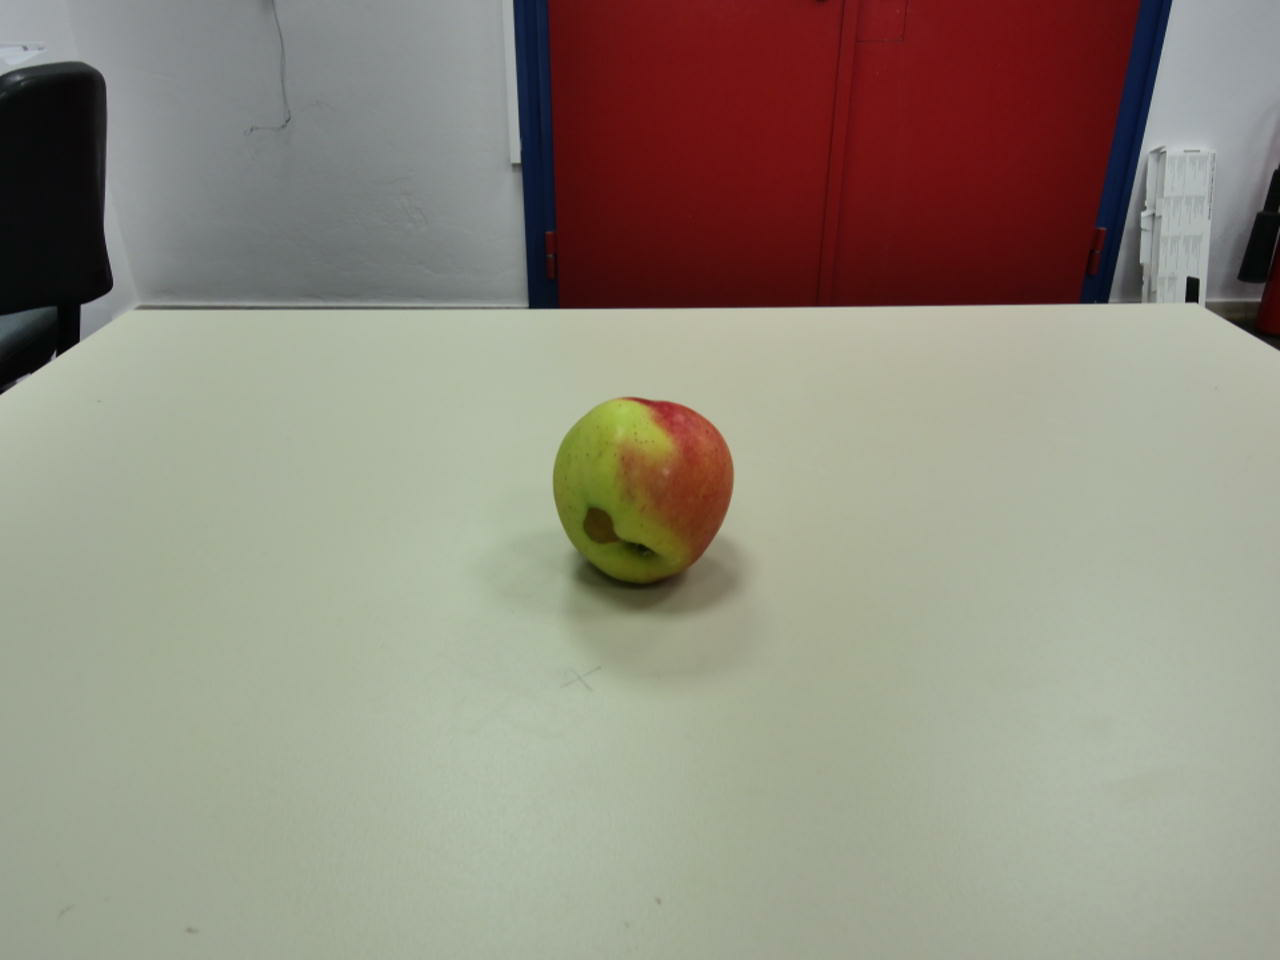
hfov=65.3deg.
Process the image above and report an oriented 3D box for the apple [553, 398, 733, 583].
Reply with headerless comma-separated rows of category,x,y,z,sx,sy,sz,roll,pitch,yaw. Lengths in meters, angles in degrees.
apple,0.002,0.003,0.411,0.075,0.074,0.075,-8,25,-18
